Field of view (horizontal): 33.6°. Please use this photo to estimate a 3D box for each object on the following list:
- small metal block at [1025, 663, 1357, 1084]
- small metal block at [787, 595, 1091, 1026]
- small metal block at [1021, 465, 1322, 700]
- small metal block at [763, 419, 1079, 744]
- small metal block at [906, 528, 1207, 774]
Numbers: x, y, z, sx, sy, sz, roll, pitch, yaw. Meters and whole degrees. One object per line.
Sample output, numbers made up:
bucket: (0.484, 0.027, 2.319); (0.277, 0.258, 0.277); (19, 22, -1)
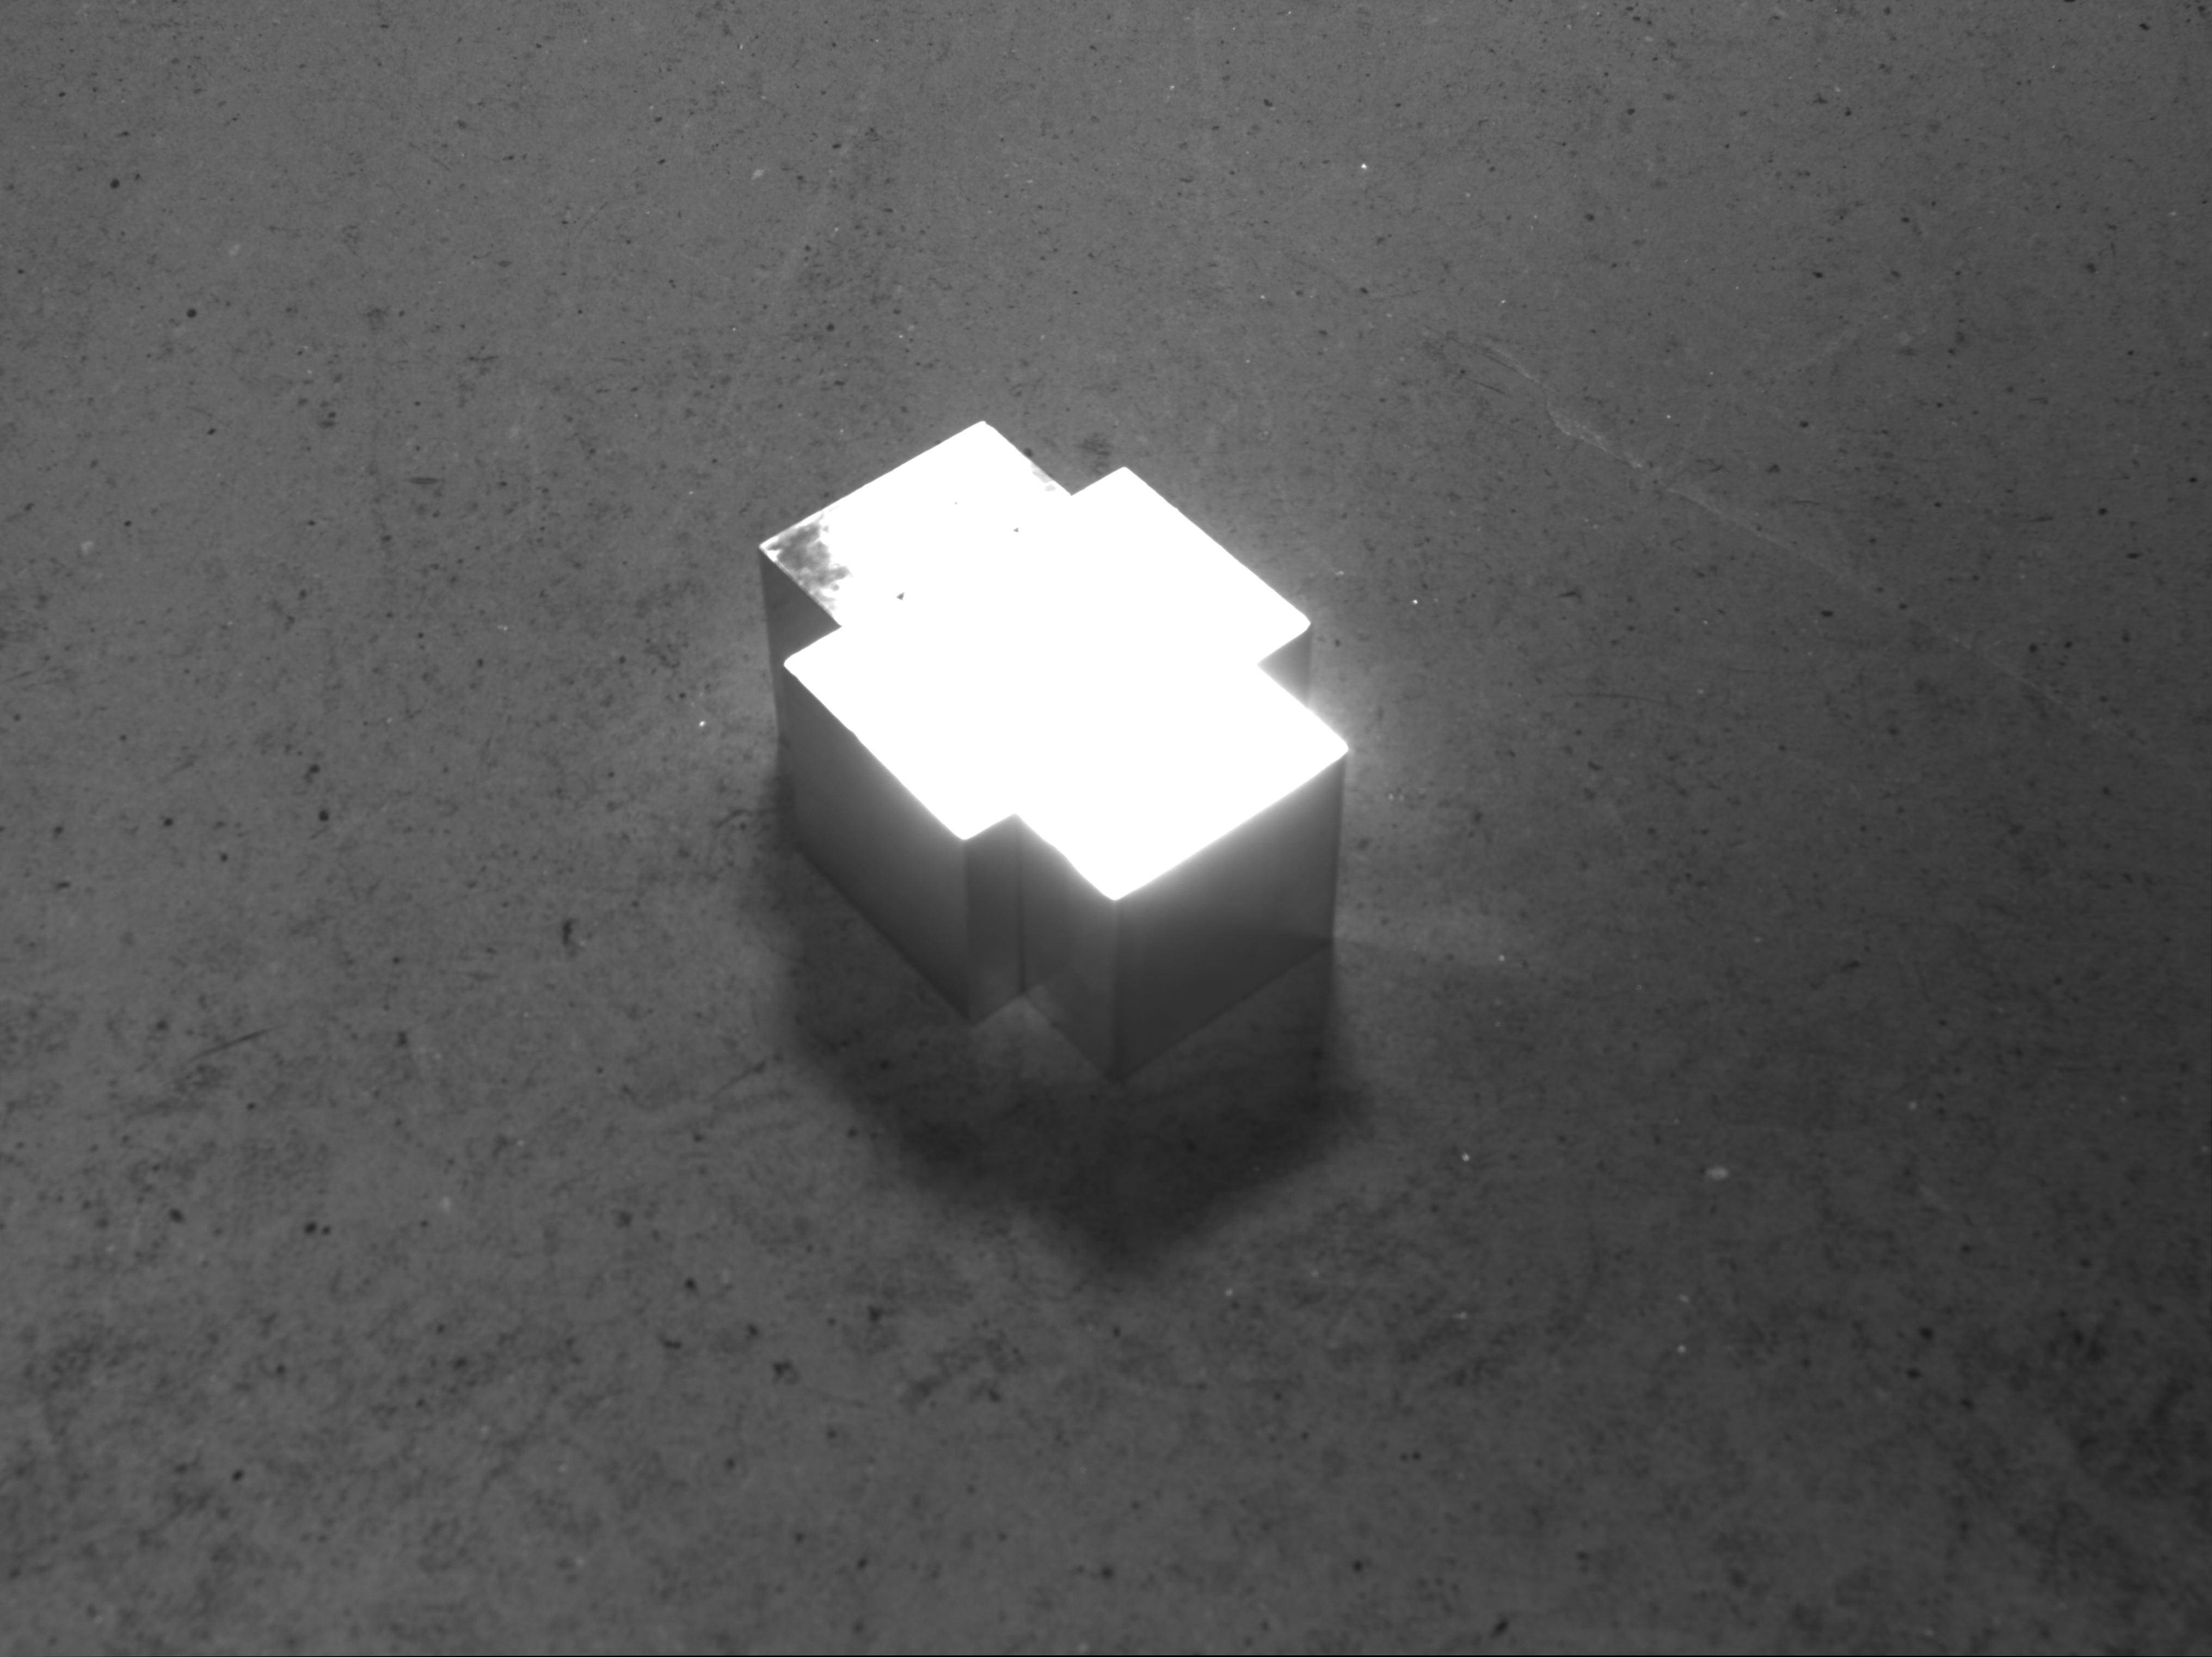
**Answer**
small metal block: (0.014, 0.008, 0.619); (0.050, 0.050, 0.025); (-32, 57, -24)
small metal block: (-0.028, -0.003, 0.628); (0.025, 0.050, 0.050); (-32, 57, -24)
small metal block: (0.011, -0.027, 0.648); (0.025, 0.050, 0.050); (-33, 57, -25)
small metal block: (-0.032, -0.038, 0.657); (0.050, 0.050, 0.025); (-32, 57, -24)
small metal block: (-0.009, -0.015, 0.638); (0.025, 0.050, 0.050); (-32, 57, -24)
